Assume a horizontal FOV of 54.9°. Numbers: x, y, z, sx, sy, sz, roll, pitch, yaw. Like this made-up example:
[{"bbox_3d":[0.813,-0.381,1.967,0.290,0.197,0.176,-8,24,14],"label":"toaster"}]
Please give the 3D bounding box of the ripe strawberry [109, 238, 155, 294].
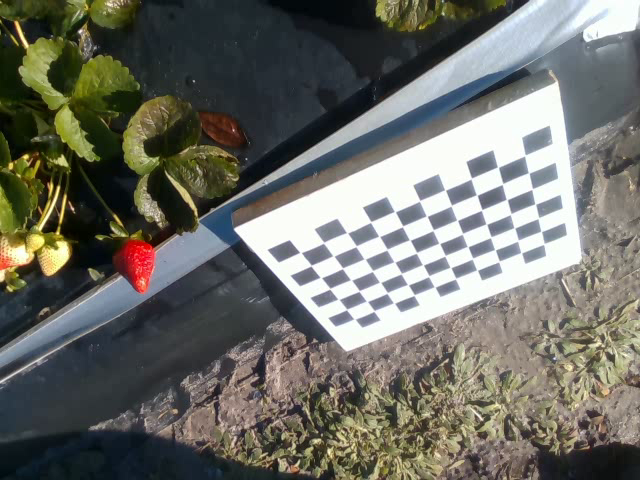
[{"bbox_3d":[-0.135,0.022,0.446,0.036,0.046,0.038,-22,-25,15],"label":"ripe strawberry"}]
